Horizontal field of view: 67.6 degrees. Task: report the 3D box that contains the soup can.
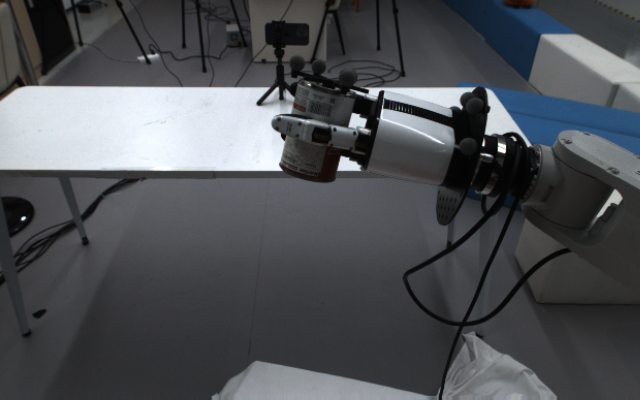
[{"bbox_3d":[-0.002,-0.078,0.549,0.067,0.101,0.067,13,18,-4],"label":"soup can"}]
